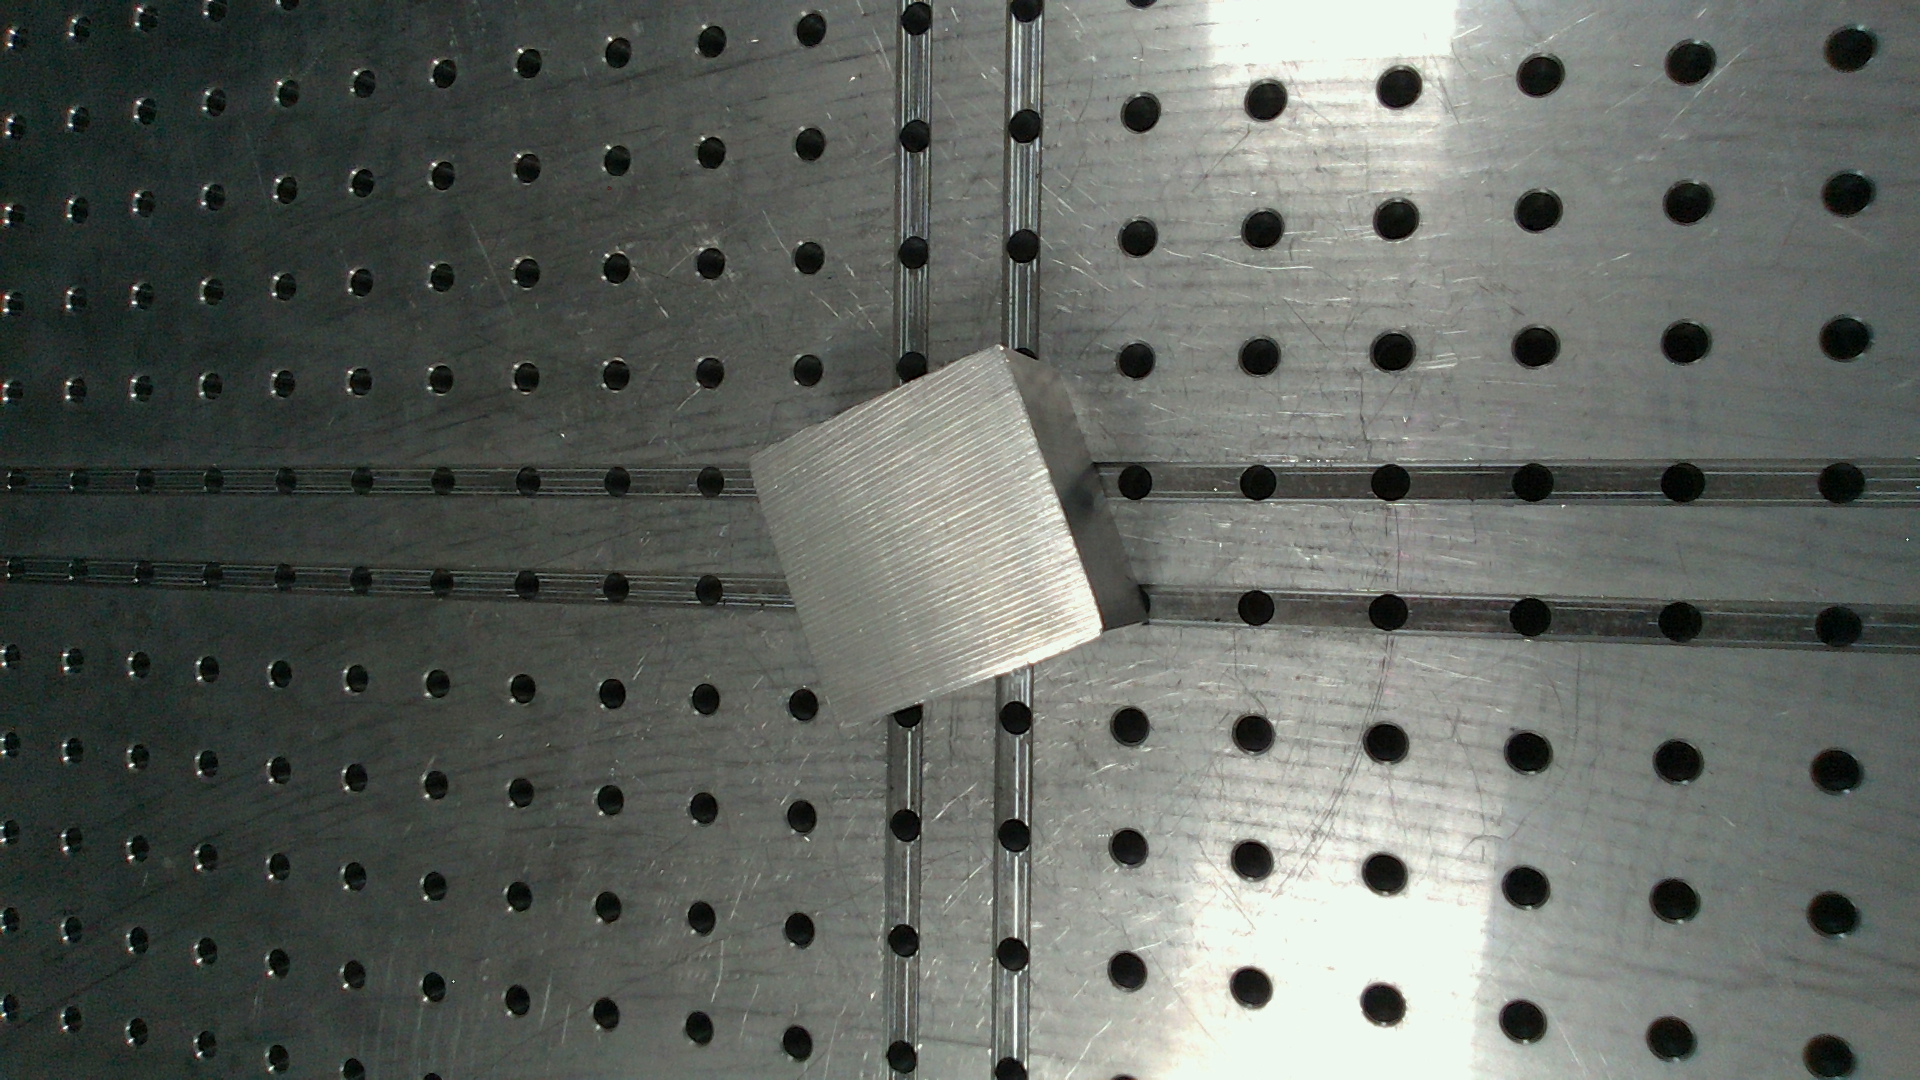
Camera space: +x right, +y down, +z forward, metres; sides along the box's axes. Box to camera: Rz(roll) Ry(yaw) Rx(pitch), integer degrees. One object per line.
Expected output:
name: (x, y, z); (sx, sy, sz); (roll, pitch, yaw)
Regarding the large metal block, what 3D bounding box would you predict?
large metal block: (-0.002, 0.001, 0.383); (0.080, 0.050, 0.080); (-22, 83, 19)
